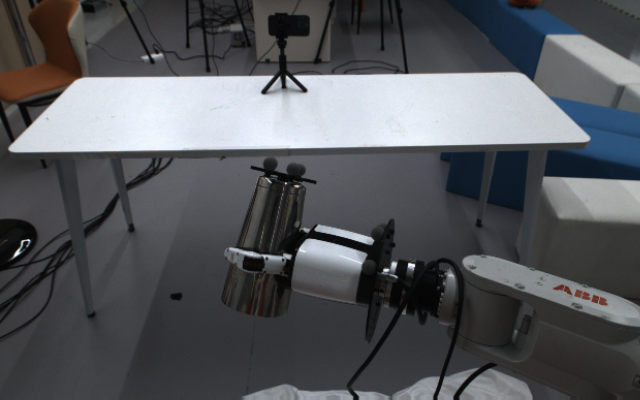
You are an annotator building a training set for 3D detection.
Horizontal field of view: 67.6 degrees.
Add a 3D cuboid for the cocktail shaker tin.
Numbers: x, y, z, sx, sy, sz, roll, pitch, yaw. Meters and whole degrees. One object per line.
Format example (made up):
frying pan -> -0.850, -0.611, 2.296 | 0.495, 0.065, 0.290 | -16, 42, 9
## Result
cocktail shaker tin -> -0.068, 0.058, 0.644 | 0.093, 0.170, 0.093 | 13, 4, -1
